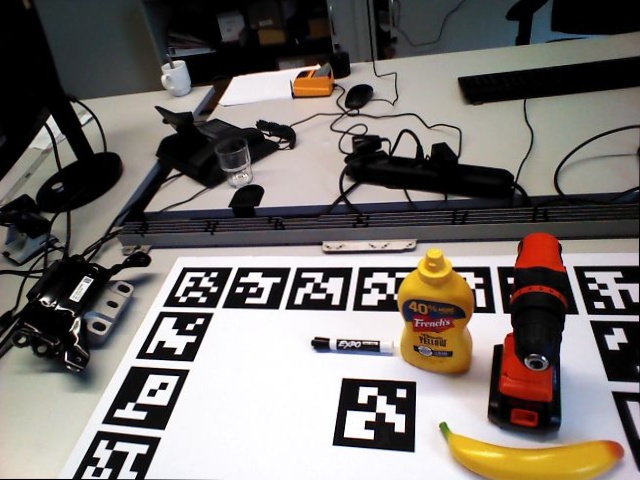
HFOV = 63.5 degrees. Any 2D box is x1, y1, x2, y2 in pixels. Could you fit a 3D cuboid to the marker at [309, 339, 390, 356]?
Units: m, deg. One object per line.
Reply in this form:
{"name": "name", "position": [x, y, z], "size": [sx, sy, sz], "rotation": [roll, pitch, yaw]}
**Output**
{"name": "marker", "position": [0.042, 0.159, 0.770], "size": [0.122, 0.020, 0.019], "rotation": [0, 42, 16]}

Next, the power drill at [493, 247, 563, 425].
{"name": "power drill", "position": [0.236, 0.125, 0.591], "size": [0.058, 0.187, 0.183], "rotation": [10, 42, 23]}

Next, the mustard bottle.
{"name": "mustard bottle", "position": [0.148, 0.098, 0.676], "size": [0.097, 0.192, 0.058], "rotation": [7, 43, 22]}

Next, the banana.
{"name": "banana", "position": [0.228, 0.255, 0.590], "size": [0.198, 0.039, 0.073], "rotation": [3, 43, 22]}
